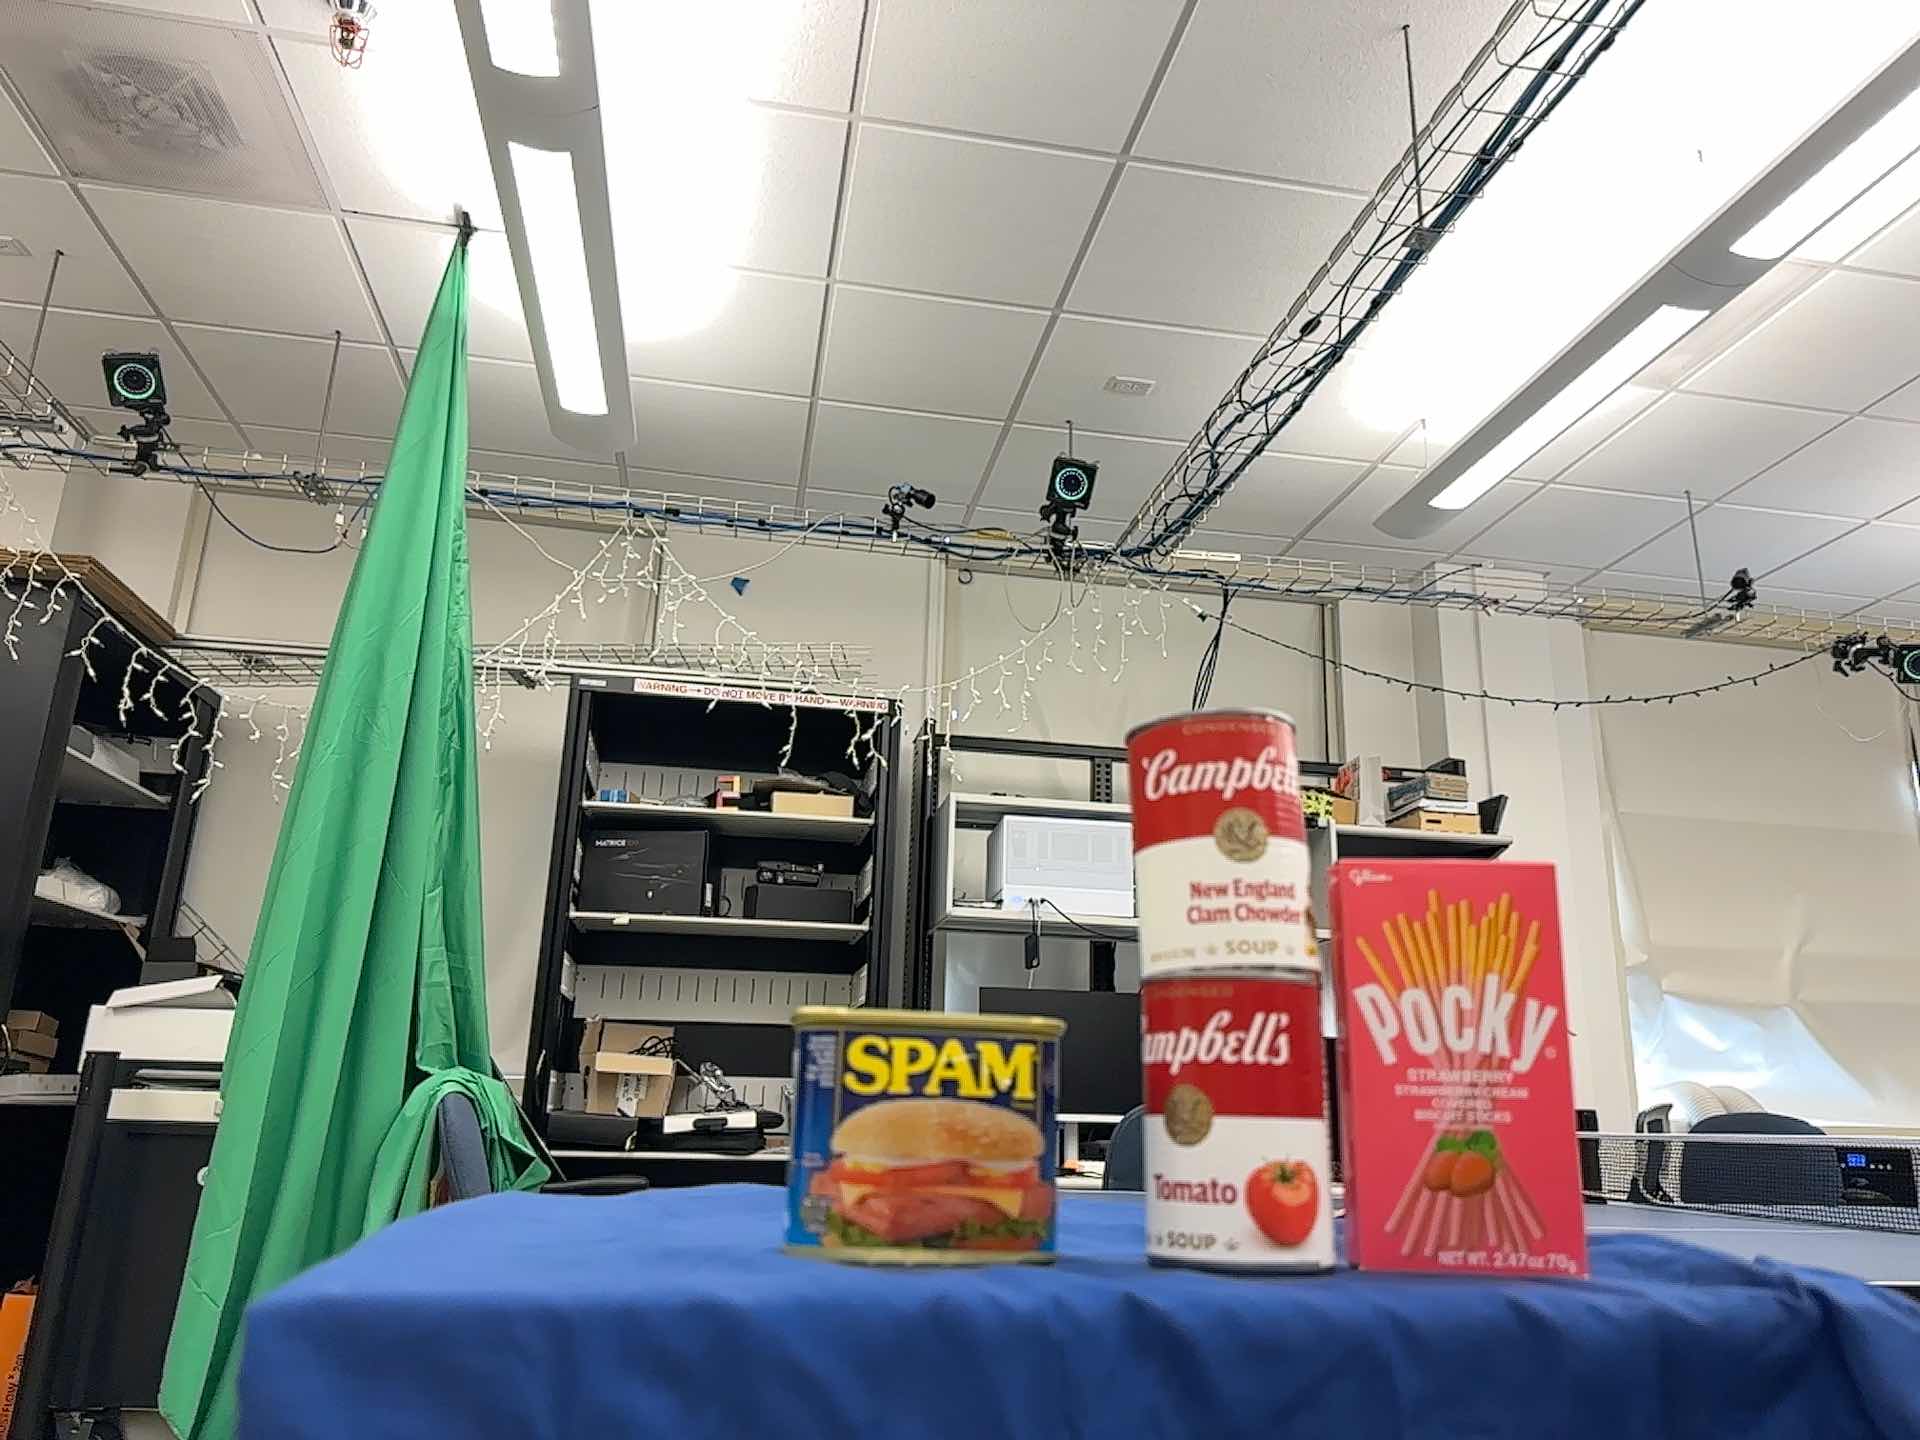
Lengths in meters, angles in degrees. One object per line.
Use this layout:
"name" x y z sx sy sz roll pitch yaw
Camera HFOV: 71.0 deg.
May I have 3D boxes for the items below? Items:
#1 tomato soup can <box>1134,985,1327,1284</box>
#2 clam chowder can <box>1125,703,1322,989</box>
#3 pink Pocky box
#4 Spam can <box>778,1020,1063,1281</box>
"tomato soup can" 0.100 0.153 0.503 0.067 0.102 0.067 1 -16 0
"clam chowder can" 0.101 0.052 0.523 0.068 0.102 0.068 -1 -18 0
"pink Pocky box" 0.182 0.131 0.503 0.084 0.154 0.029 0 -12 2
"Spam can" -0.016 0.156 0.494 0.100 0.083 0.056 5 -15 -10
